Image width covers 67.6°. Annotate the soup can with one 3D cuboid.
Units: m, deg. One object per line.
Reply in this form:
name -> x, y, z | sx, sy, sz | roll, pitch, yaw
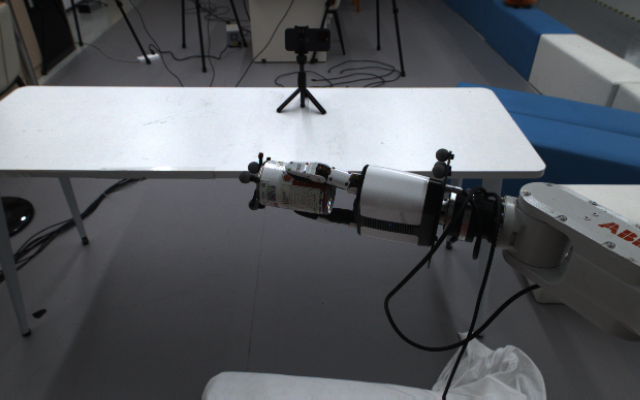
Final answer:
soup can -> -0.030, -0.017, 0.691 | 0.101, 0.067, 0.067 | 9, 35, 10
